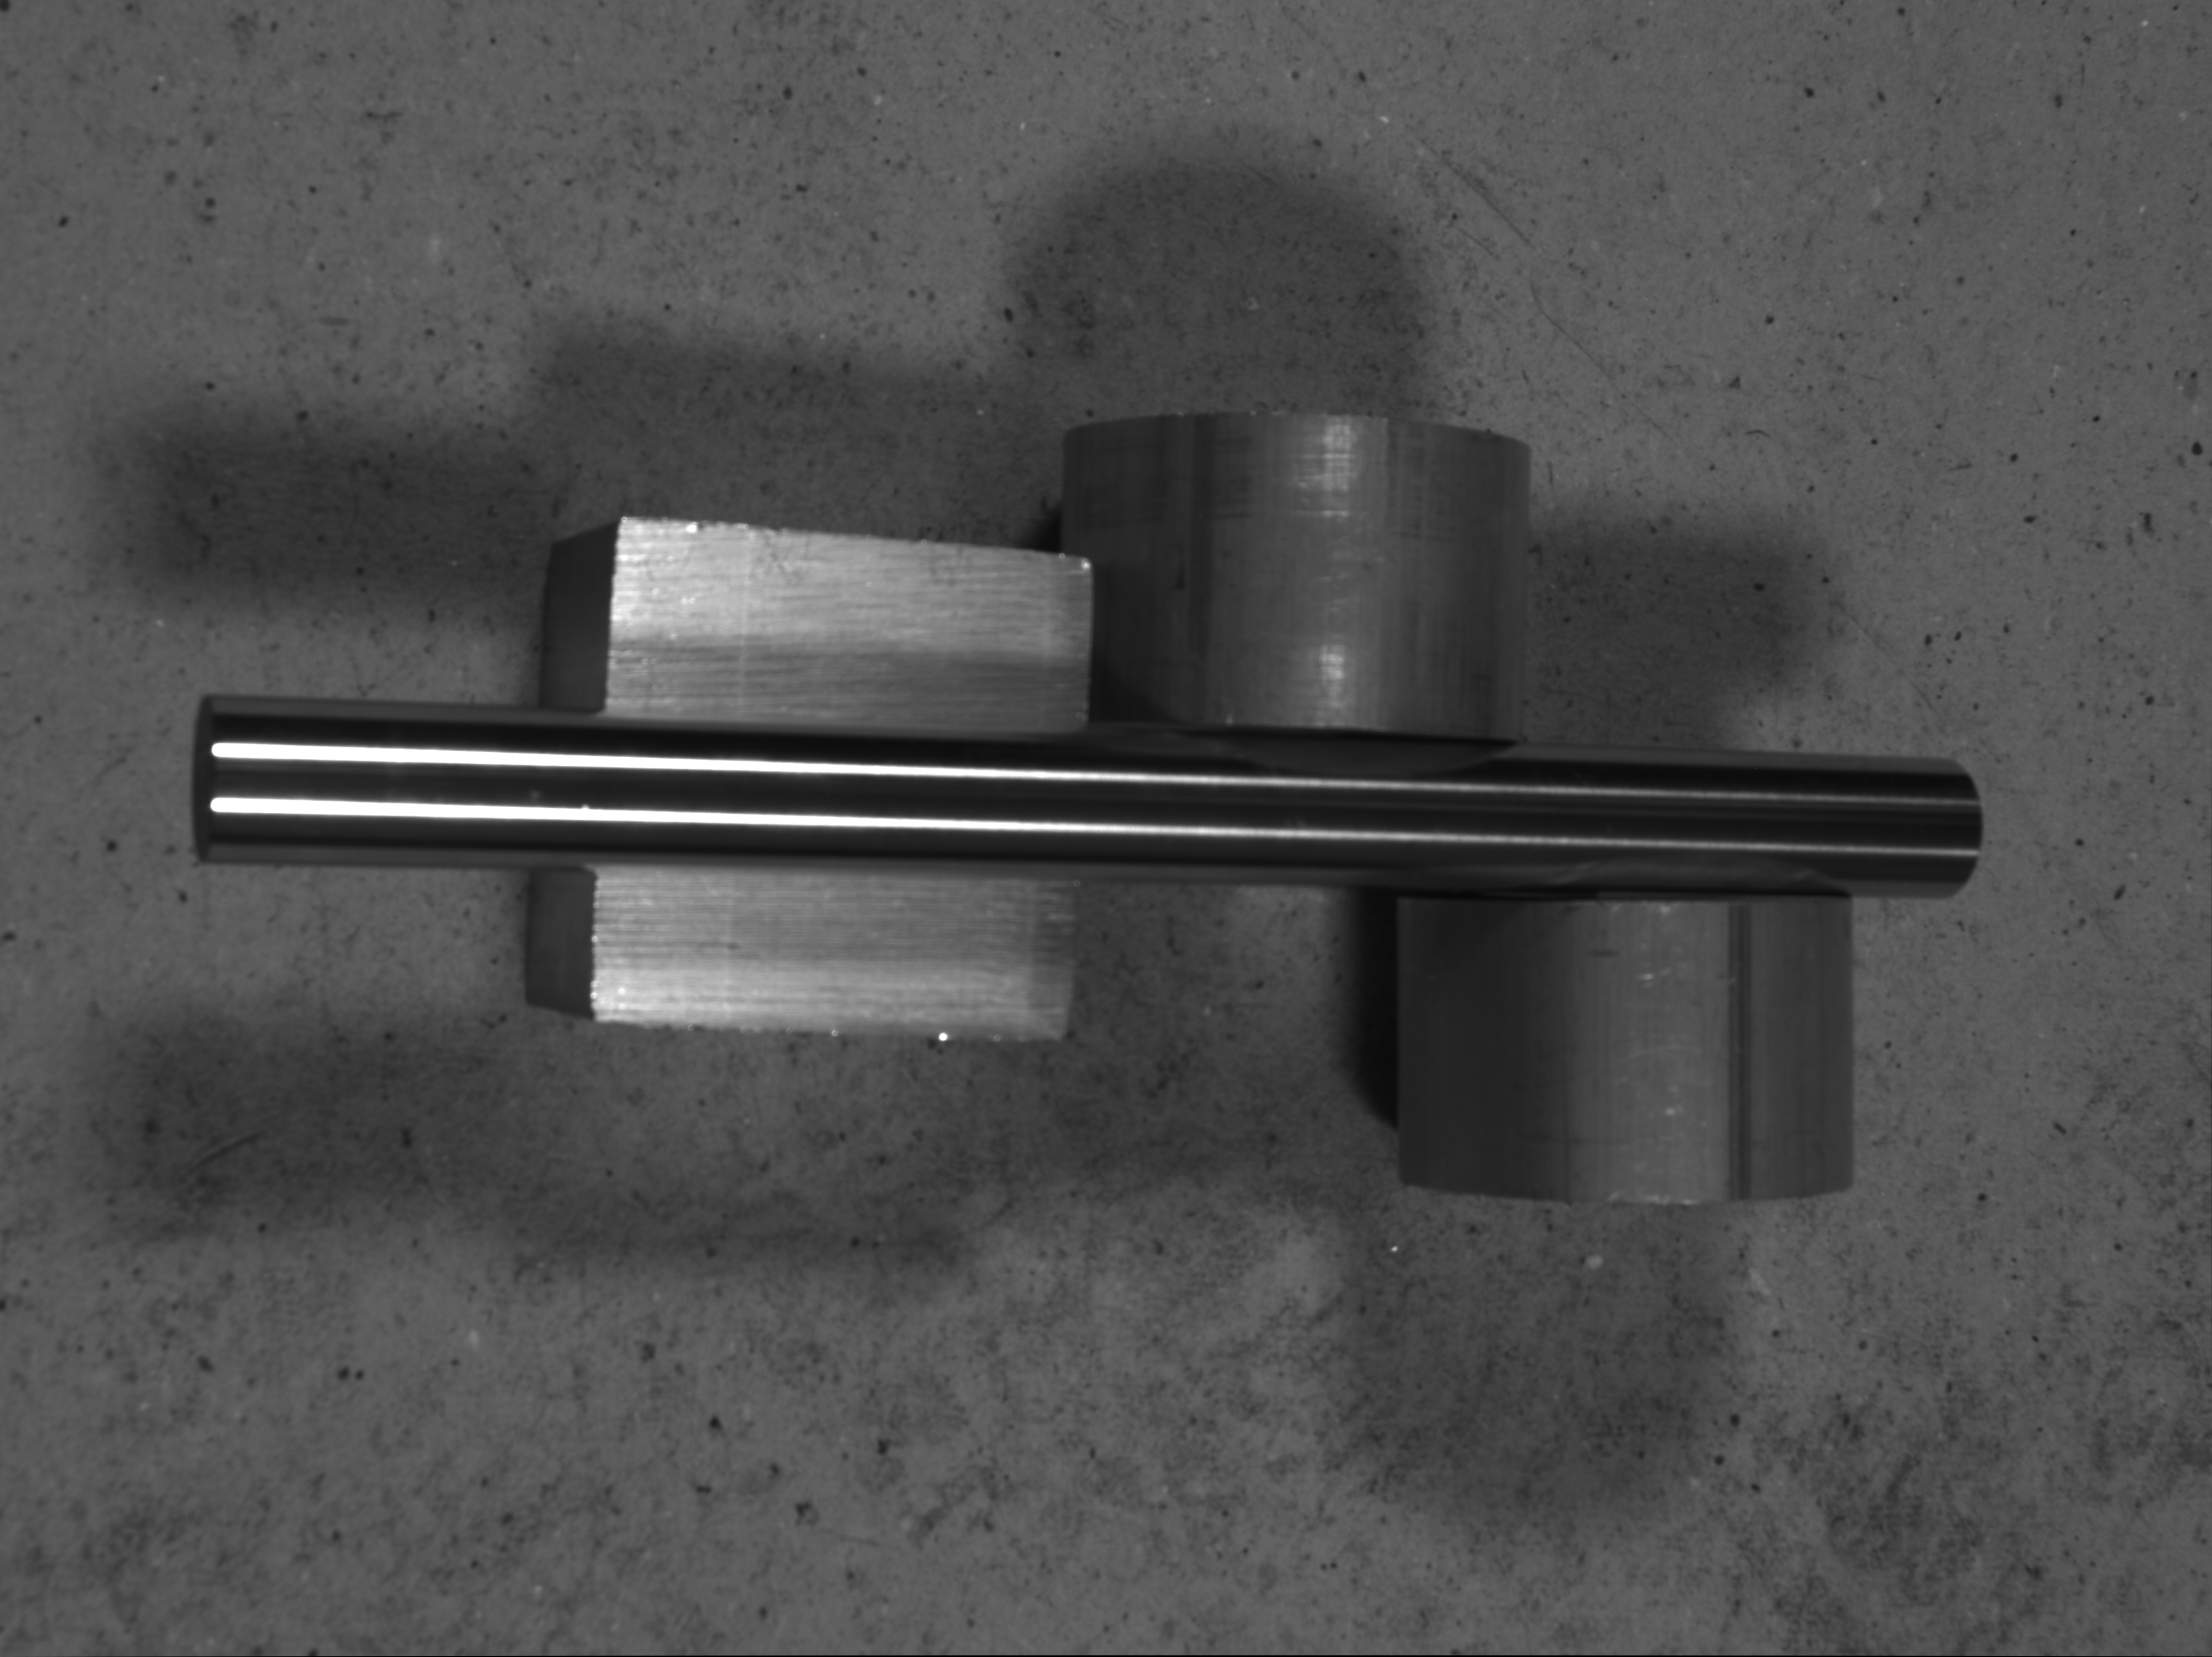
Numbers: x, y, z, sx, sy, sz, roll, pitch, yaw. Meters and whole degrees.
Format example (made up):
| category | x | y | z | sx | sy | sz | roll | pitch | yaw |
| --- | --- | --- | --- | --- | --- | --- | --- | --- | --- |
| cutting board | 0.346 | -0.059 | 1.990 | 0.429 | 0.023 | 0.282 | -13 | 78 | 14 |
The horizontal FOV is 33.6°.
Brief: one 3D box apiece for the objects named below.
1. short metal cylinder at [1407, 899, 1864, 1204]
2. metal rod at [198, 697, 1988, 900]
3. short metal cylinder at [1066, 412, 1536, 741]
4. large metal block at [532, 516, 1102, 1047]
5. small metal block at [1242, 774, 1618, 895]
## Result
| category | x | y | z | sx | sy | sz | roll | pitch | yaw |
| --- | --- | --- | --- | --- | --- | --- | --- | --- | --- |
| short metal cylinder | 0.093 | 0.037 | 0.648 | 0.080 | 0.080 | 0.050 | 0 | 90 | -20 |
| metal rod | 0.008 | -0.003 | 0.592 | 0.301 | 0.025 | 0.025 | 1 | 89 | -21 |
| short metal cylinder | 0.033 | -0.041 | 0.627 | 0.080 | 0.080 | 0.050 | 2 | 89 | -20 |
| large metal block | -0.049 | -0.007 | 0.609 | 0.080 | 0.050 | 0.080 | 4 | 89 | -20 |
| small metal block | 0.057 | -0.001 | 0.650 | 0.050 | 0.050 | 0.025 | 1 | 89 | -20 |
